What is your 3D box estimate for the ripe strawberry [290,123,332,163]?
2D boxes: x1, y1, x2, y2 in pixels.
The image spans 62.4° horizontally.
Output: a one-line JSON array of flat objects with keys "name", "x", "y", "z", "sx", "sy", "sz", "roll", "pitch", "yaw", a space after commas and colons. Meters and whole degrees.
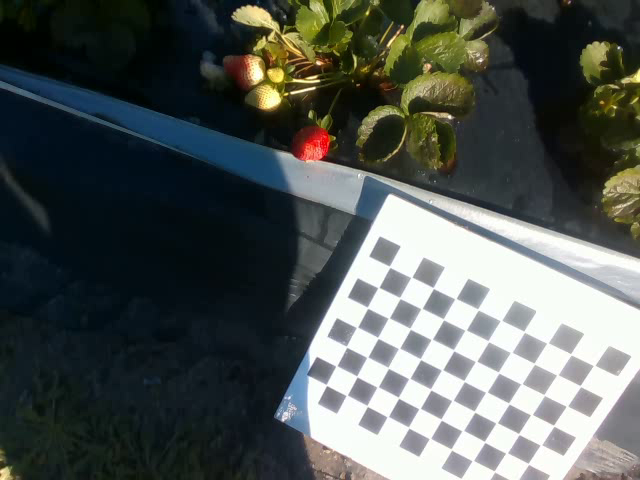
[{"name": "ripe strawberry", "x": -0.011, "y": -0.078, "z": 0.434, "sx": 0.036, "sy": 0.038, "sz": 0.046, "roll": 26, "pitch": 30, "yaw": 11}]
